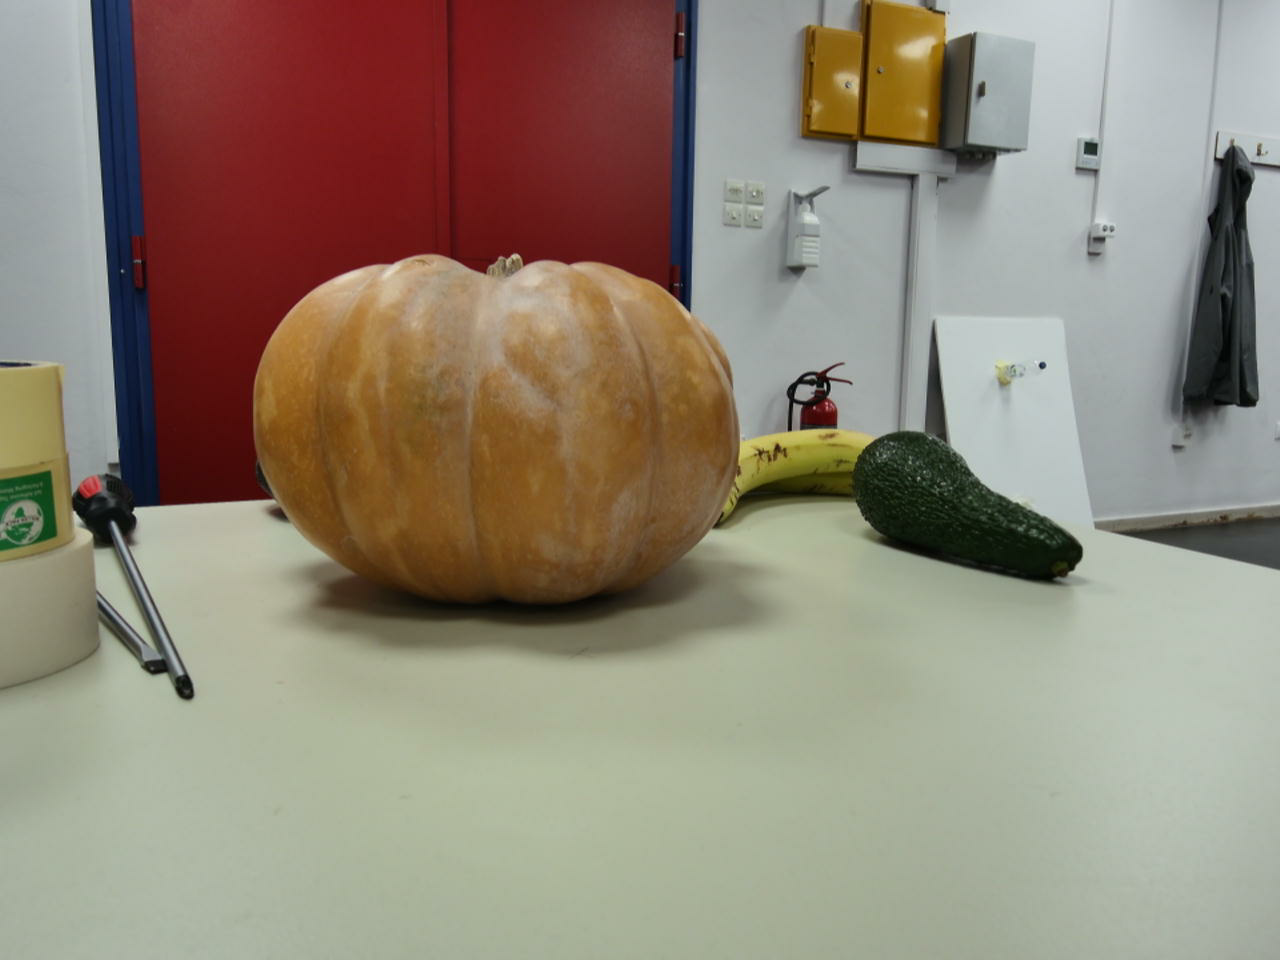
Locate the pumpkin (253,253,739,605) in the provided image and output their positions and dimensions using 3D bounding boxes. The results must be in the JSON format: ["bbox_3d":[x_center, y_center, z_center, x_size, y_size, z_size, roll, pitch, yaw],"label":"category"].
[{"bbox_3d":[-0.073,-0.031,0.547,0.277,0.181,0.277,0,7,0],"label":"pumpkin"}]
